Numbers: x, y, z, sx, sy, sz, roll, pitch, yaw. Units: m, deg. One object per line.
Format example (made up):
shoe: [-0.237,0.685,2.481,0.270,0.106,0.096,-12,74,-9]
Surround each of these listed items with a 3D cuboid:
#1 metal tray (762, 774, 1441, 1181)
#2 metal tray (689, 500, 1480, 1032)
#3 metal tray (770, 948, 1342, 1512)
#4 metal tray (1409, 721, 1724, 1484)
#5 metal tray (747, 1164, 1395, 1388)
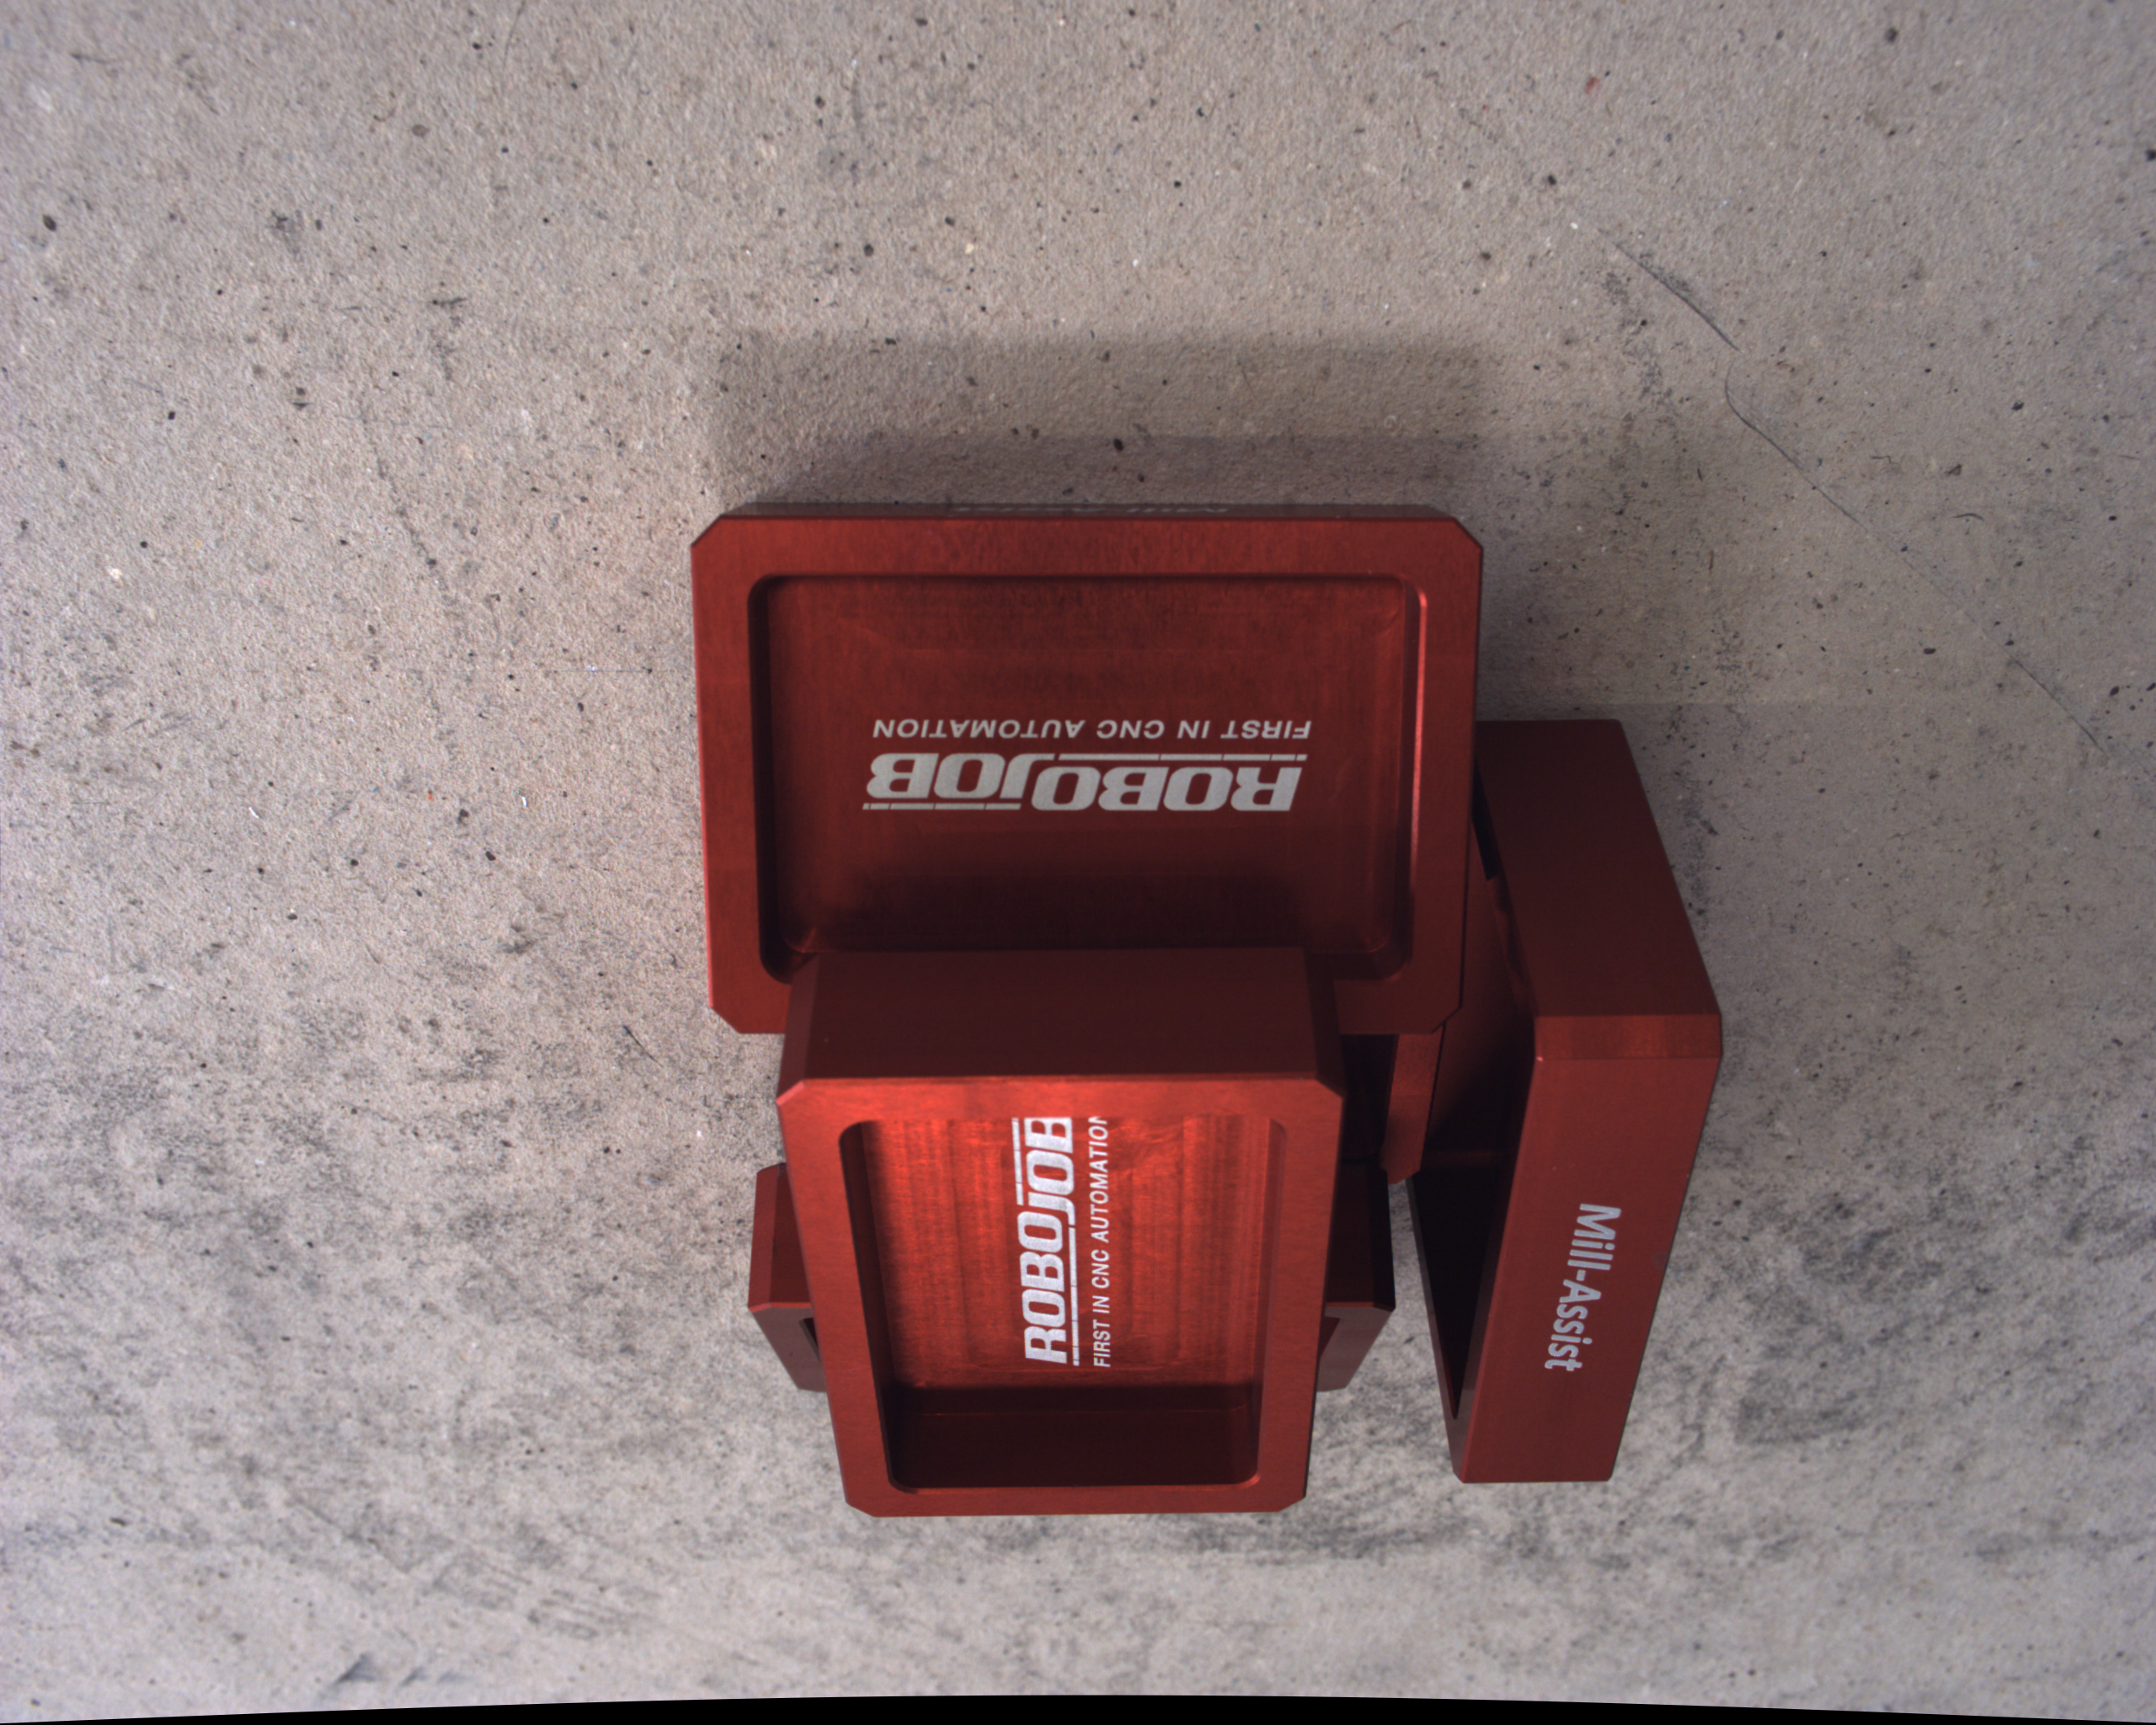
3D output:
metal tray: [0.007,0.026,0.425,0.131,0.030,0.089,-1,132,0]
metal tray: [0.001,-0.018,0.367,0.131,0.030,0.089,0,103,-1]
metal tray: [-0.002,0.071,0.381,0.091,0.030,0.129,-1,133,1]
metal tray: [0.090,0.048,0.407,0.030,0.090,0.129,-1,131,1]
metal tray: [-0.001,0.094,0.463,0.131,0.030,0.090,0,155,0]
